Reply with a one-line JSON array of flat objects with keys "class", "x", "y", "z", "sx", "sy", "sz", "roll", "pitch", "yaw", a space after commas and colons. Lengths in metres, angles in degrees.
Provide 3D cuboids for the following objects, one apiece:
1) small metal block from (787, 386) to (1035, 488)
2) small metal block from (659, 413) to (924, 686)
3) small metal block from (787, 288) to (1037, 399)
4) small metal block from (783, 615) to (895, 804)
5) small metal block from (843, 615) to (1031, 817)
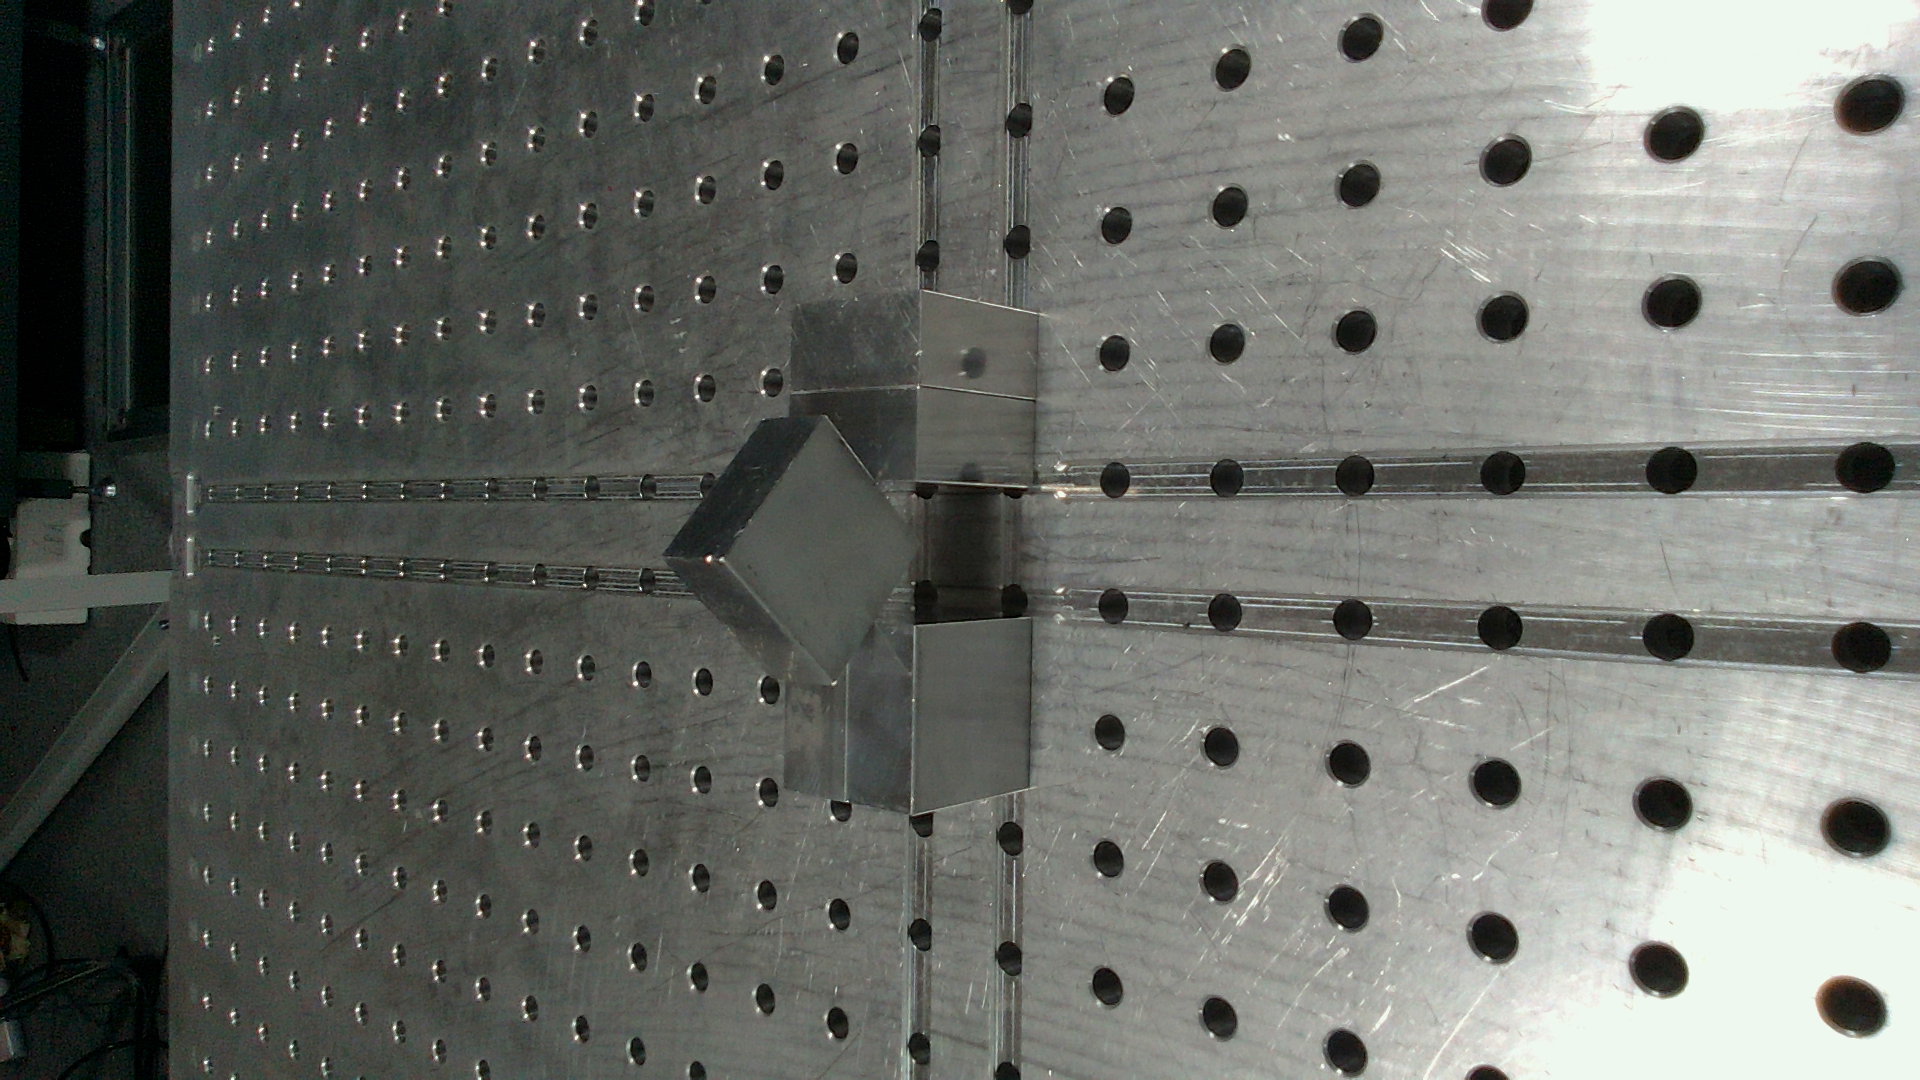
[{"class": "small metal block", "x": -0.014, "y": -0.028, "z": 0.393, "sx": 0.050, "sy": 0.050, "sz": 0.025, "roll": 3, "pitch": 92, "yaw": 40}, {"class": "small metal block", "x": -0.043, "y": 0.003, "z": 0.363, "sx": 0.025, "sy": 0.050, "sz": 0.050, "roll": 1, "pitch": 48, "yaw": 41}, {"class": "small metal block", "x": -0.013, "y": -0.054, "z": 0.392, "sx": 0.050, "sy": 0.050, "sz": 0.025, "roll": 3, "pitch": 92, "yaw": 40}, {"class": "small metal block", "x": -0.024, "y": 0.047, "z": 0.402, "sx": 0.025, "sy": 0.050, "sz": 0.050, "roll": 2, "pitch": 91, "yaw": 40}, {"class": "small metal block", "x": -0.006, "y": 0.047, "z": 0.385, "sx": 0.025, "sy": 0.050, "sz": 0.050, "roll": 2, "pitch": 91, "yaw": 40}]
